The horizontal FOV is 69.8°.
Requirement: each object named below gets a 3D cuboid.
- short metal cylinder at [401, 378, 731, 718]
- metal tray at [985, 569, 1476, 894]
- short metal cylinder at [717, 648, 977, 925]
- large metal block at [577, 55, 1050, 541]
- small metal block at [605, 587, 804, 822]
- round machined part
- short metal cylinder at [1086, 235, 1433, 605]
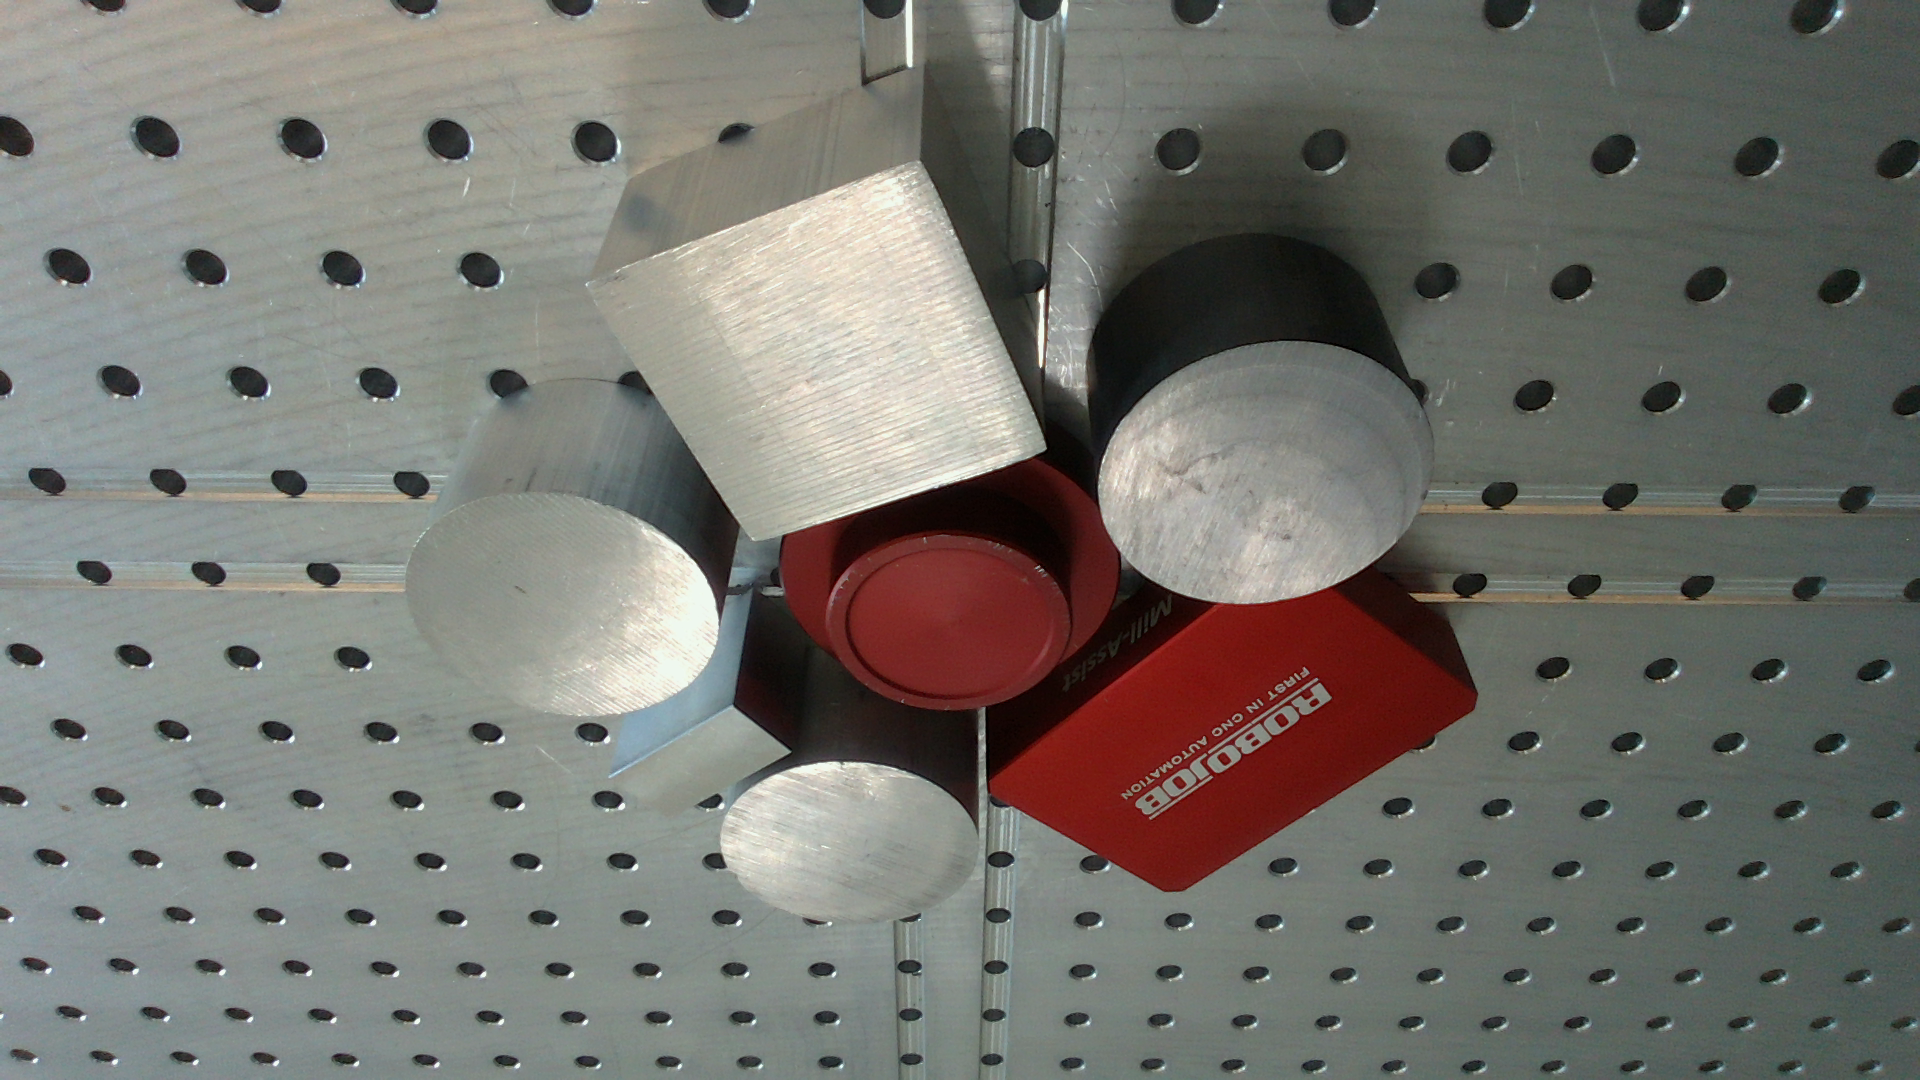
[{"bbox_3d":[-0.104,0.003,0.378,0.080,0.050,0.080,0,130,0],"label":"short metal cylinder"},{"bbox_3d":[0.081,0.054,0.435,0.090,0.030,0.130,33,122,-24],"label":"metal tray"},{"bbox_3d":[-0.035,0.079,0.443,0.080,0.050,0.080,0,130,0],"label":"short metal cylinder"},{"bbox_3d":[-0.030,-0.056,0.330,0.080,0.050,0.080,-17,128,14],"label":"large metal block"},{"bbox_3d":[-0.076,0.050,0.418,0.050,0.050,0.025,-30,124,23],"label":"small metal block"},{"bbox_3d":[-0.003,0.011,0.391,0.098,0.042,0.098,0,130,0],"label":"round machined part"},{"bbox_3d":[0.074,-0.030,0.352,0.080,0.050,0.080,0,130,0],"label":"short metal cylinder"}]
